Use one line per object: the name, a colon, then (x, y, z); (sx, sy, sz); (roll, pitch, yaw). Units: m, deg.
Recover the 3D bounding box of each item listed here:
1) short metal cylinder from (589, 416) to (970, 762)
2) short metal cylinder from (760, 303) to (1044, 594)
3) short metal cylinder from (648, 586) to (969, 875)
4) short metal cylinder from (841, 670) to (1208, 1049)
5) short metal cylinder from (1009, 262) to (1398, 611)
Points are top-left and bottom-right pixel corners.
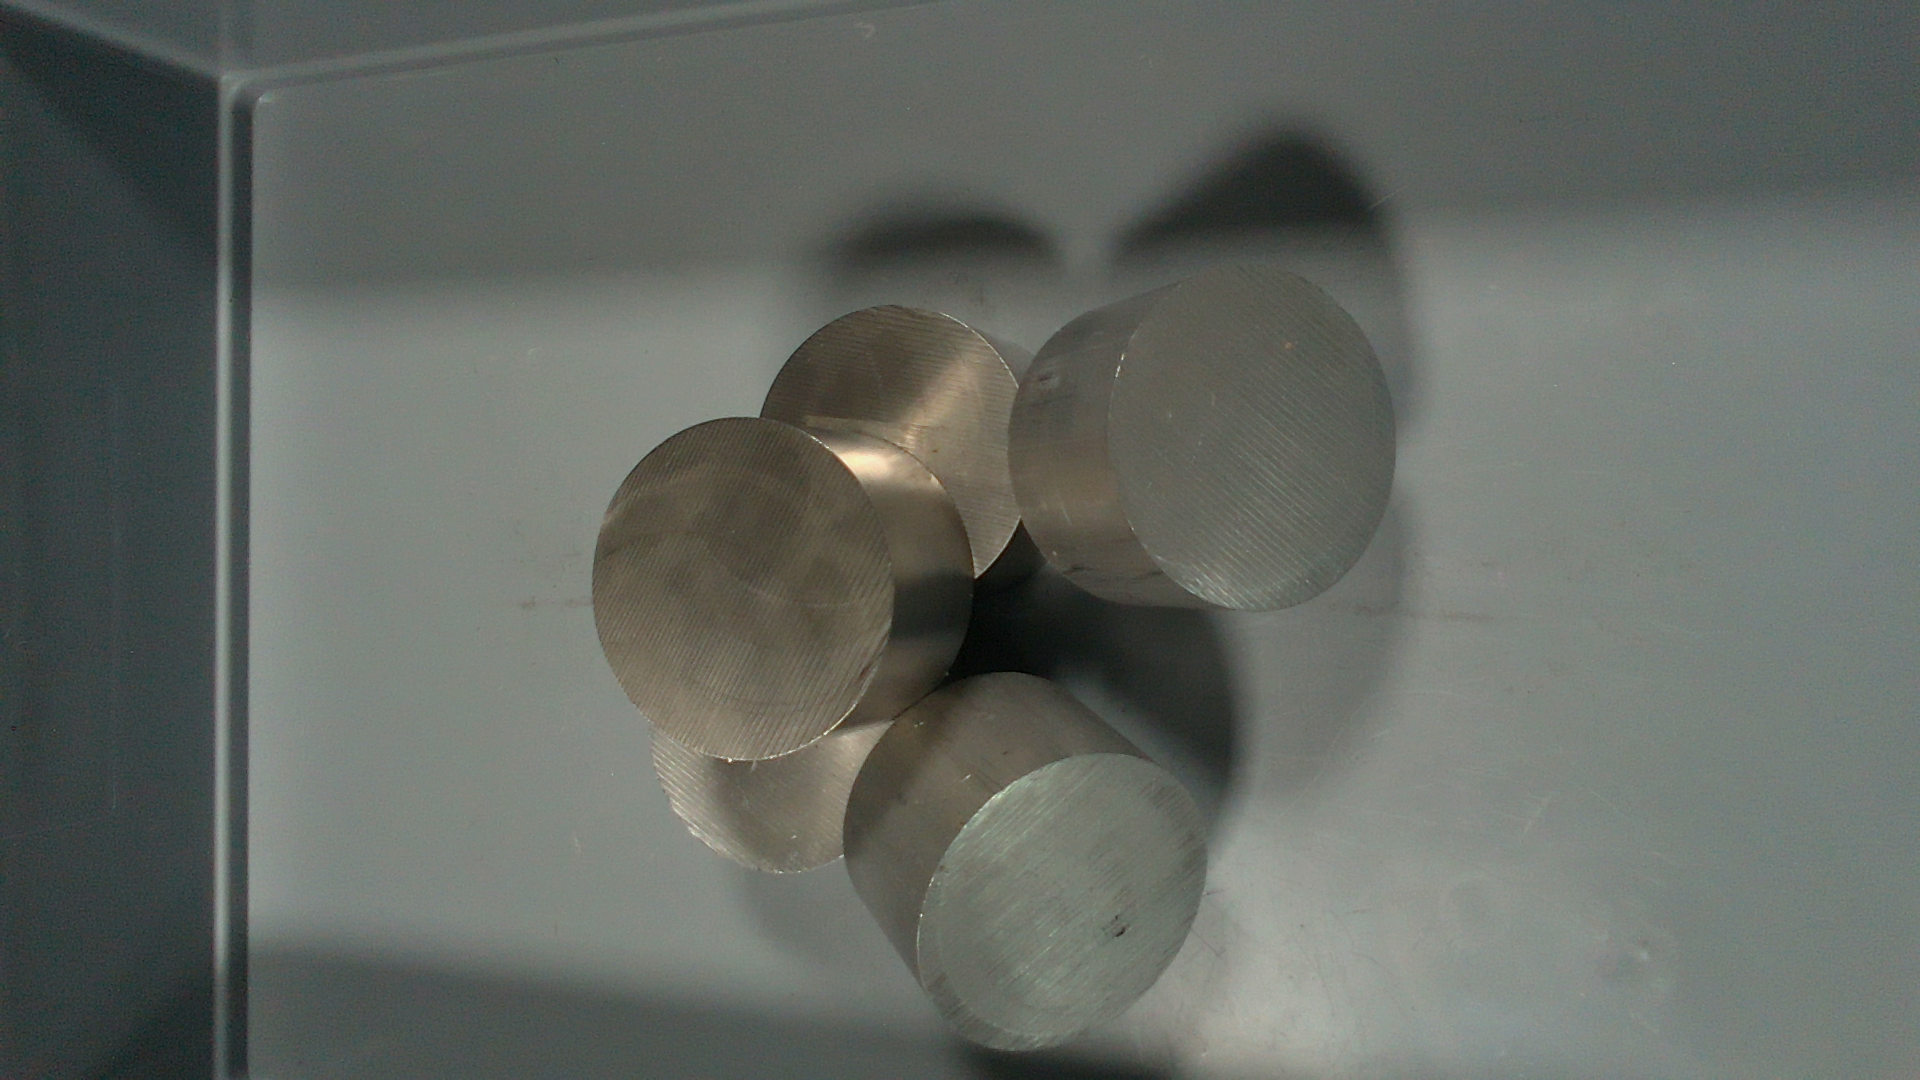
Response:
short metal cylinder: (-0.044, 0.011, 0.342); (0.080, 0.050, 0.080); (0, 90, 20)
short metal cylinder: (-0.010, -0.022, 0.385); (0.080, 0.050, 0.080); (0, 90, 20)
short metal cylinder: (-0.042, 0.051, 0.397); (0.080, 0.050, 0.080); (0, 90, 20)
short metal cylinder: (0.016, 0.080, 0.353); (0.050, 0.080, 0.080); (35, 105, 58)
short metal cylinder: (0.059, -0.023, 0.338); (0.080, 0.050, 0.080); (1, 88, -24)
